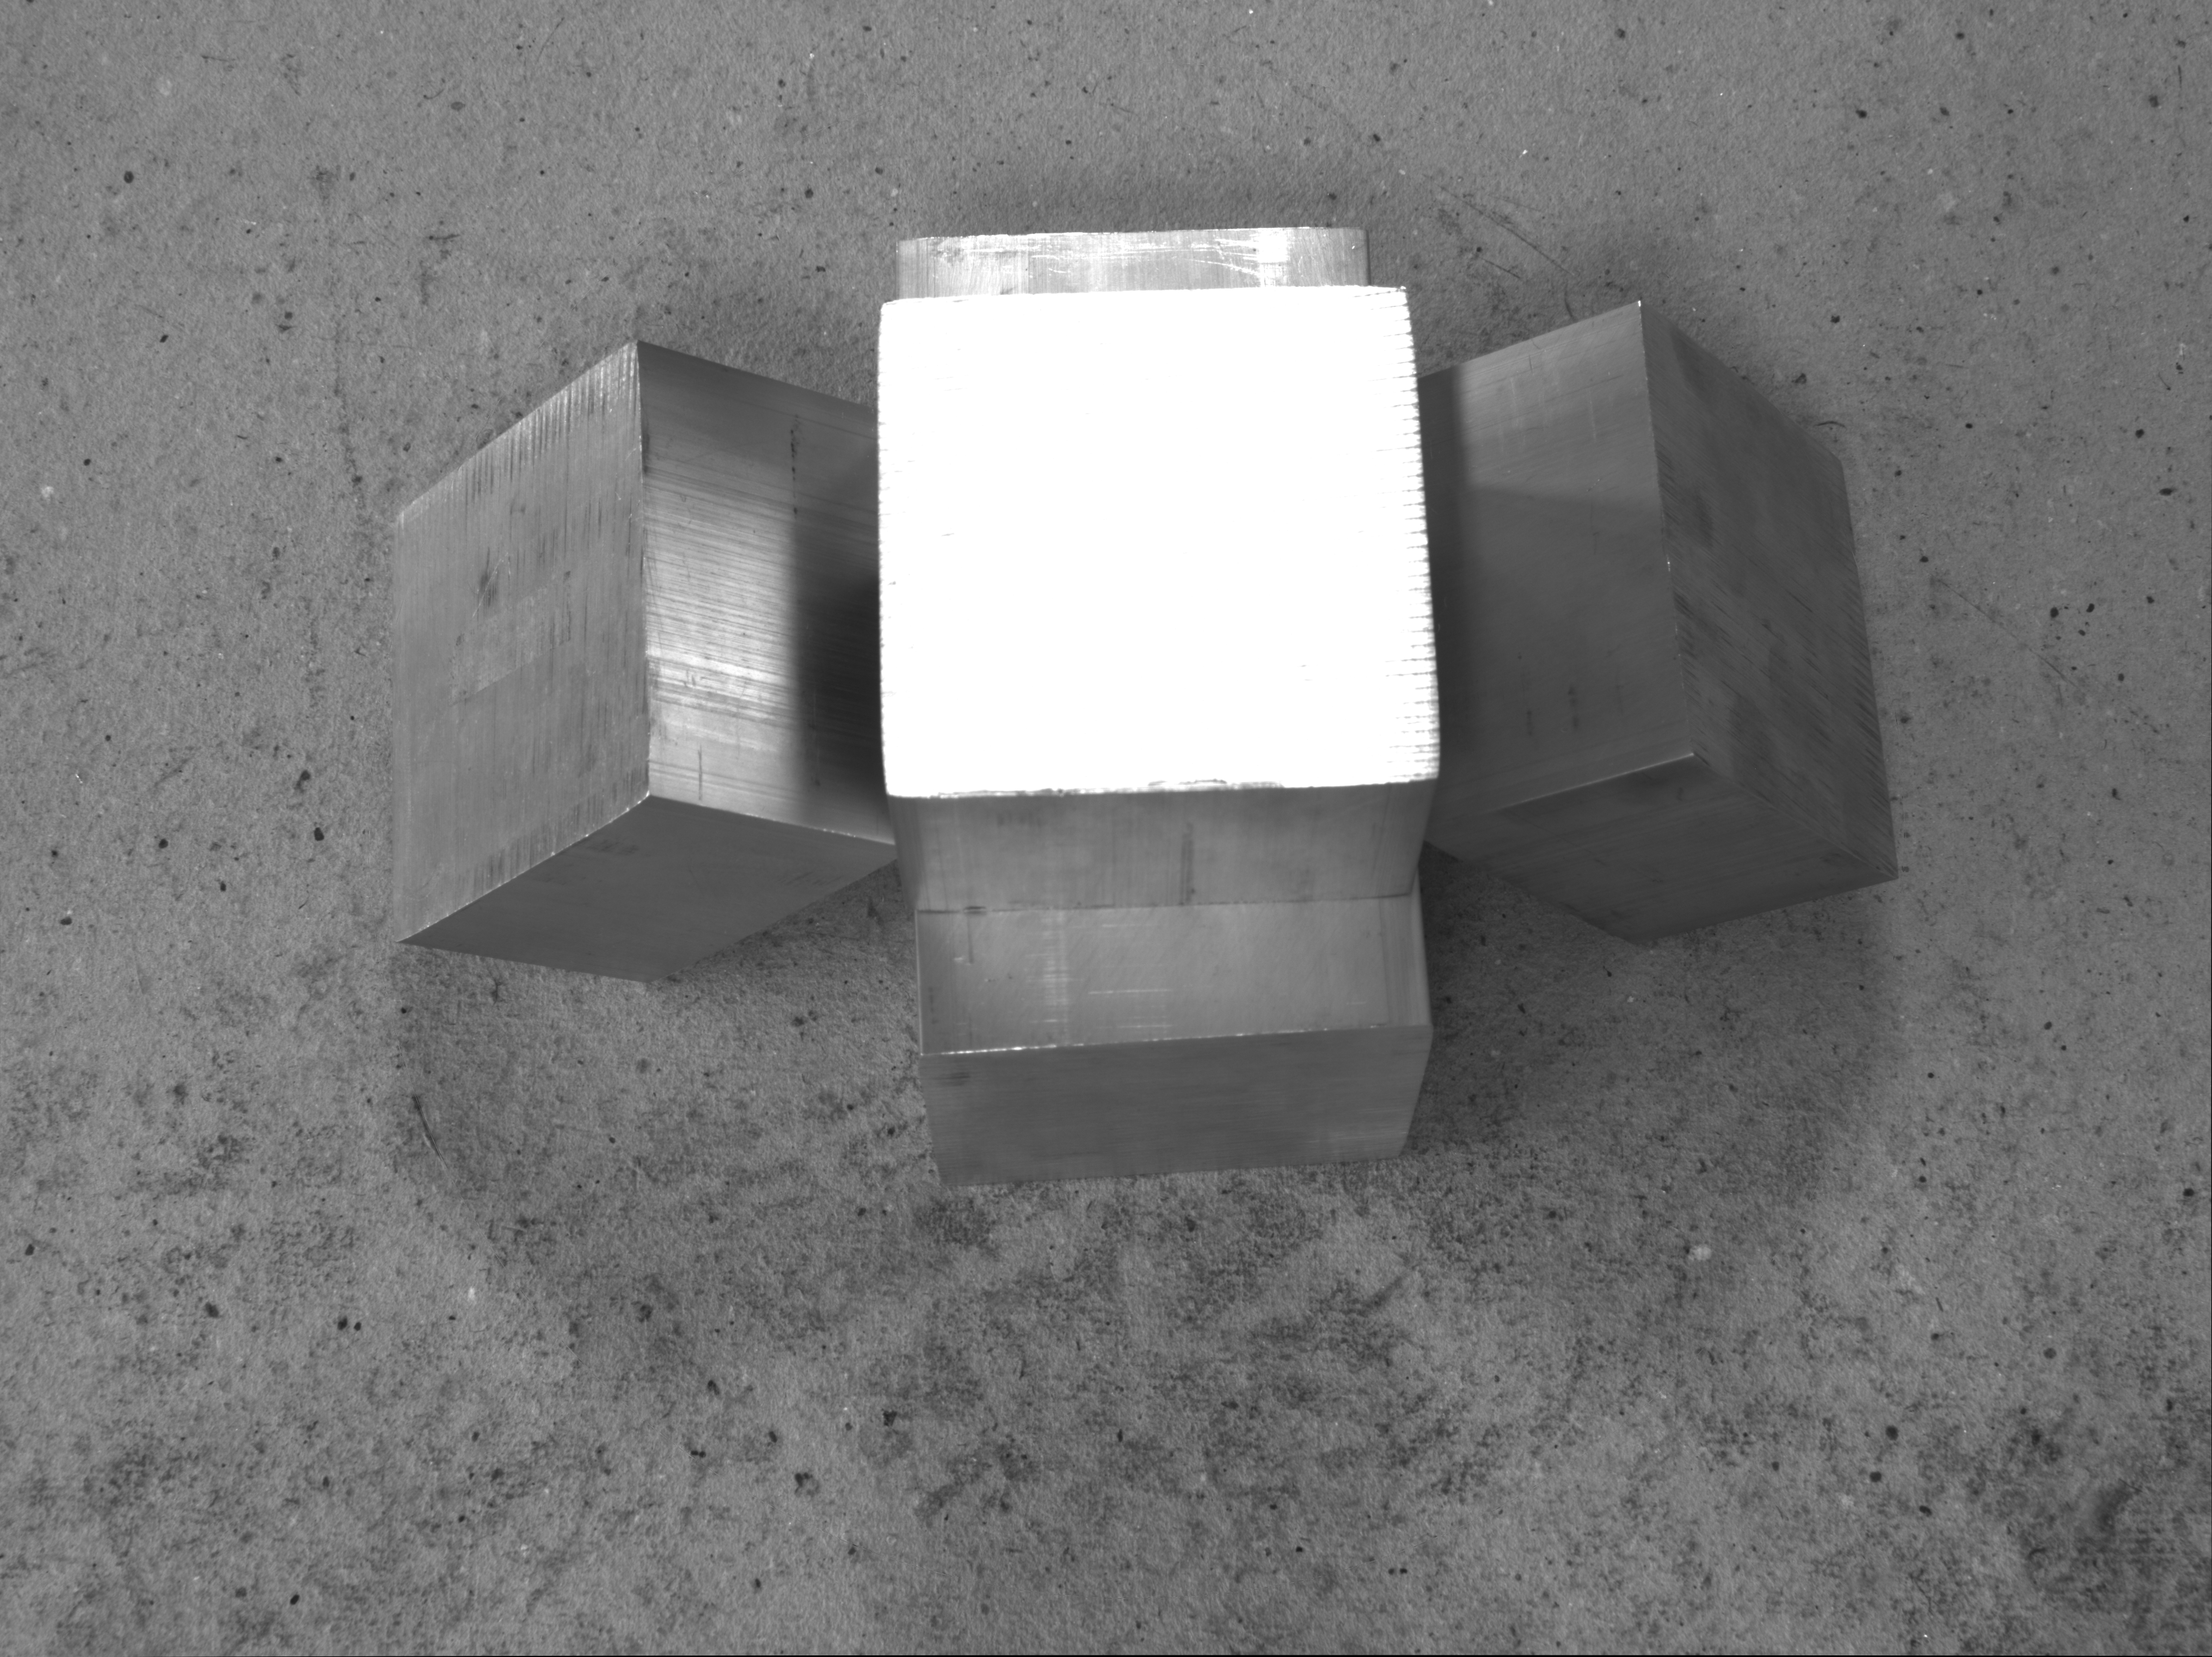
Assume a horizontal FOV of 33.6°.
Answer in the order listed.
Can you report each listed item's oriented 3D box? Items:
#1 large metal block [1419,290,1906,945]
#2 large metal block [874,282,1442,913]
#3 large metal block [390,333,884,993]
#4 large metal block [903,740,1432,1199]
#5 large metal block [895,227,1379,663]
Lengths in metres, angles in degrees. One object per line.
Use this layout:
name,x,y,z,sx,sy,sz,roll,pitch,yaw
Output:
large metal block,0.091,-0.033,0.619,0.050,0.080,0.080,-16,66,31
large metal block,0.007,-0.034,0.559,0.080,0.050,0.080,-2,70,-1
large metal block,-0.078,-0.025,0.618,0.050,0.080,0.080,13,64,-38
large metal block,0.009,0.025,0.608,0.080,0.080,0.050,-4,70,-1
large metal block,0.006,-0.062,0.639,0.080,0.080,0.050,-2,70,-1
